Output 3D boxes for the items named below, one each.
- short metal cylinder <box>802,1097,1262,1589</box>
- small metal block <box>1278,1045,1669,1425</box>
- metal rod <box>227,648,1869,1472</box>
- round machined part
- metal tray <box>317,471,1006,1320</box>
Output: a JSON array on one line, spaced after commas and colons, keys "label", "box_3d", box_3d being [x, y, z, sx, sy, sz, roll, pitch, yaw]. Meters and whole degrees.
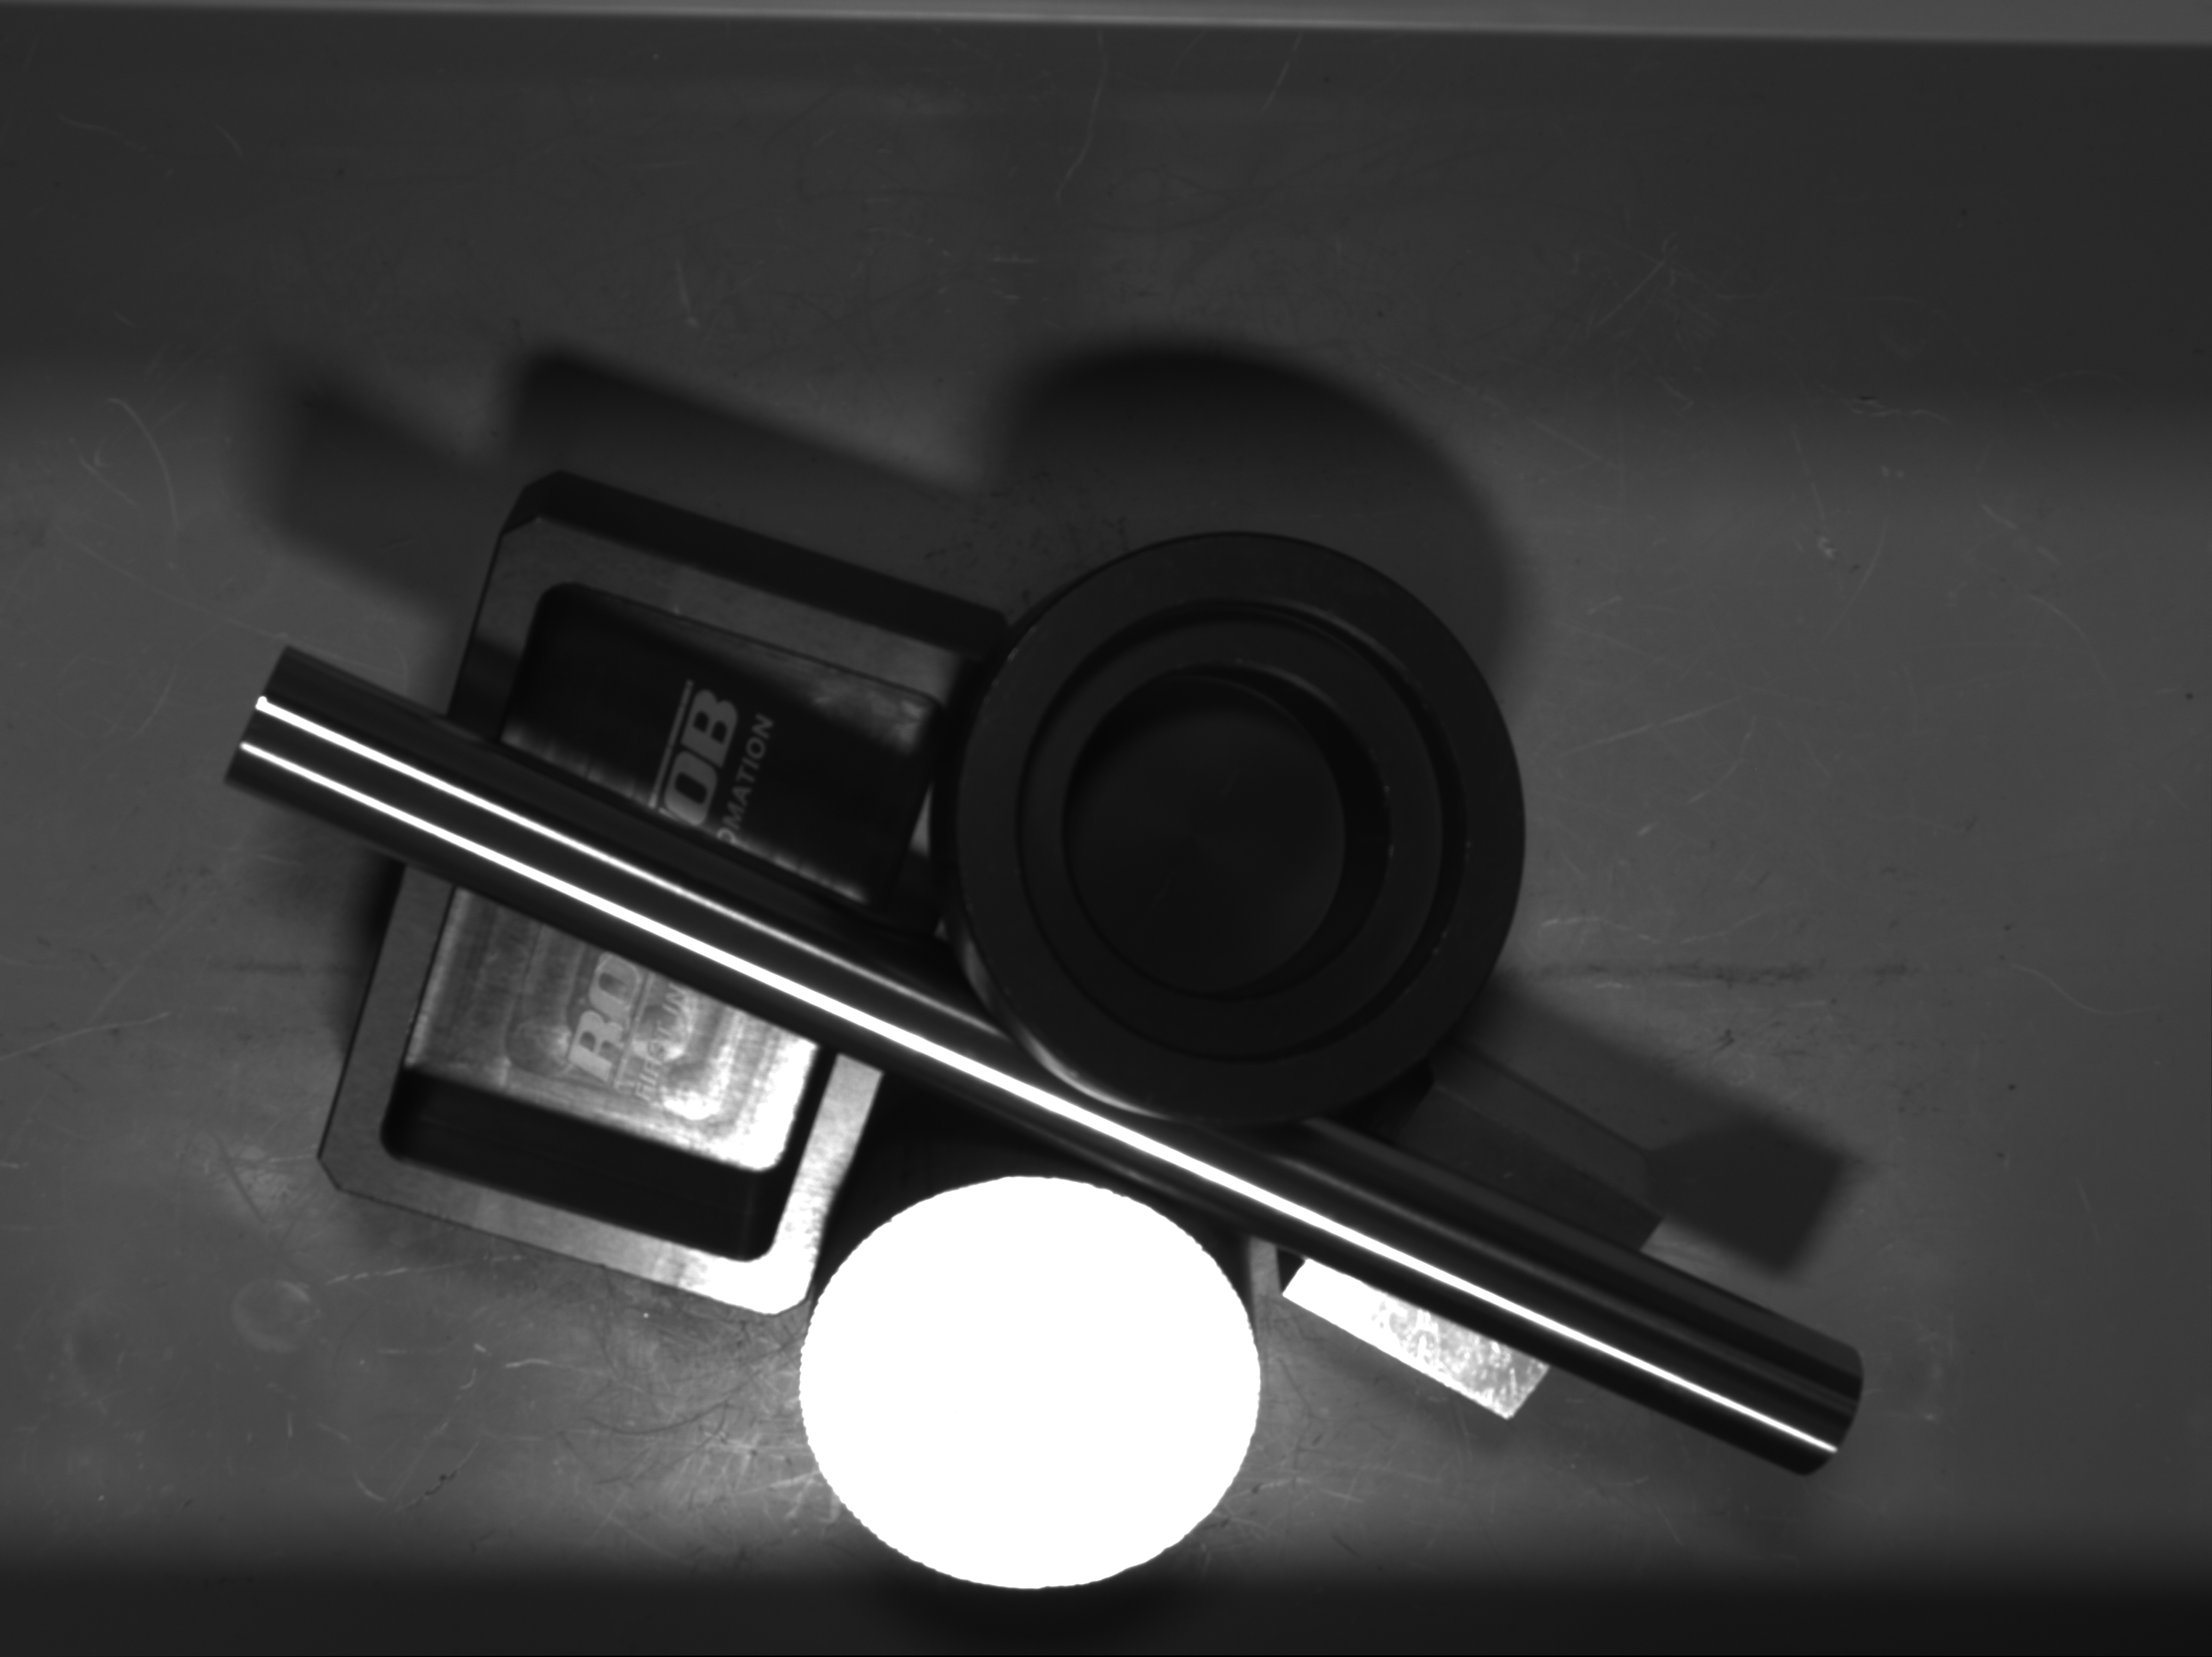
[{"label": "short metal cylinder", "box_3d": [-0.013, 0.089, 0.660, 0.080, 0.050, 0.080, 0, 110, -1]}, {"label": "small metal block", "box_3d": [0.066, 0.072, 0.669, 0.050, 0.025, 0.050, 30, 107, -11]}, {"label": "metal rod", "box_3d": [-0.004, 0.043, 0.627, 0.300, 0.025, 0.025, 24, 108, -12]}, {"label": "round machined part", "box_3d": [0.019, 0.001, 0.620, 0.098, 0.042, 0.098, 1, 88, -13]}, {"label": "metal tray", "box_3d": [-0.077, 0.013, 0.642, 0.090, 0.030, 0.130, 17, 109, -7]}]
